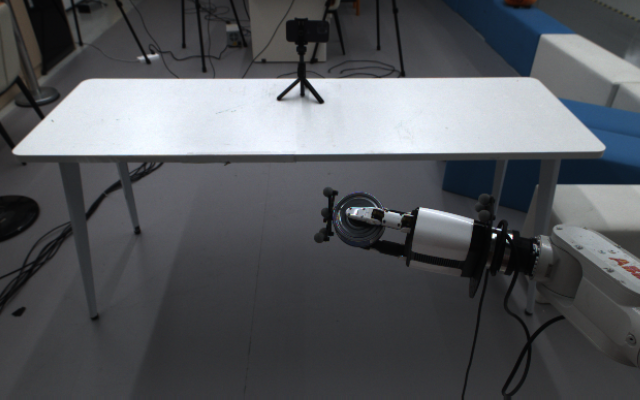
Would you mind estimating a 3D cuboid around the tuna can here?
[{"bbox_3d":[0.066,0.034,0.775,0.085,0.034,0.085,-2,69,6],"label":"tuna can"}]
